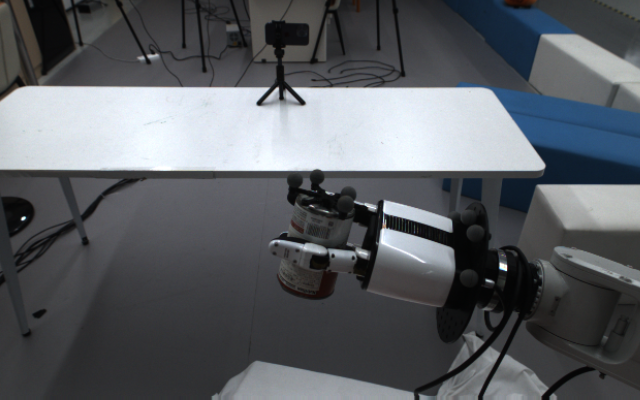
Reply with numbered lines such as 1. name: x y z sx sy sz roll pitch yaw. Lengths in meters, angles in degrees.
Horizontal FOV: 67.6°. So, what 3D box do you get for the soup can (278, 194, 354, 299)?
1. soup can: -0.003 0.050 0.540 0.067 0.101 0.067 13 18 -4
